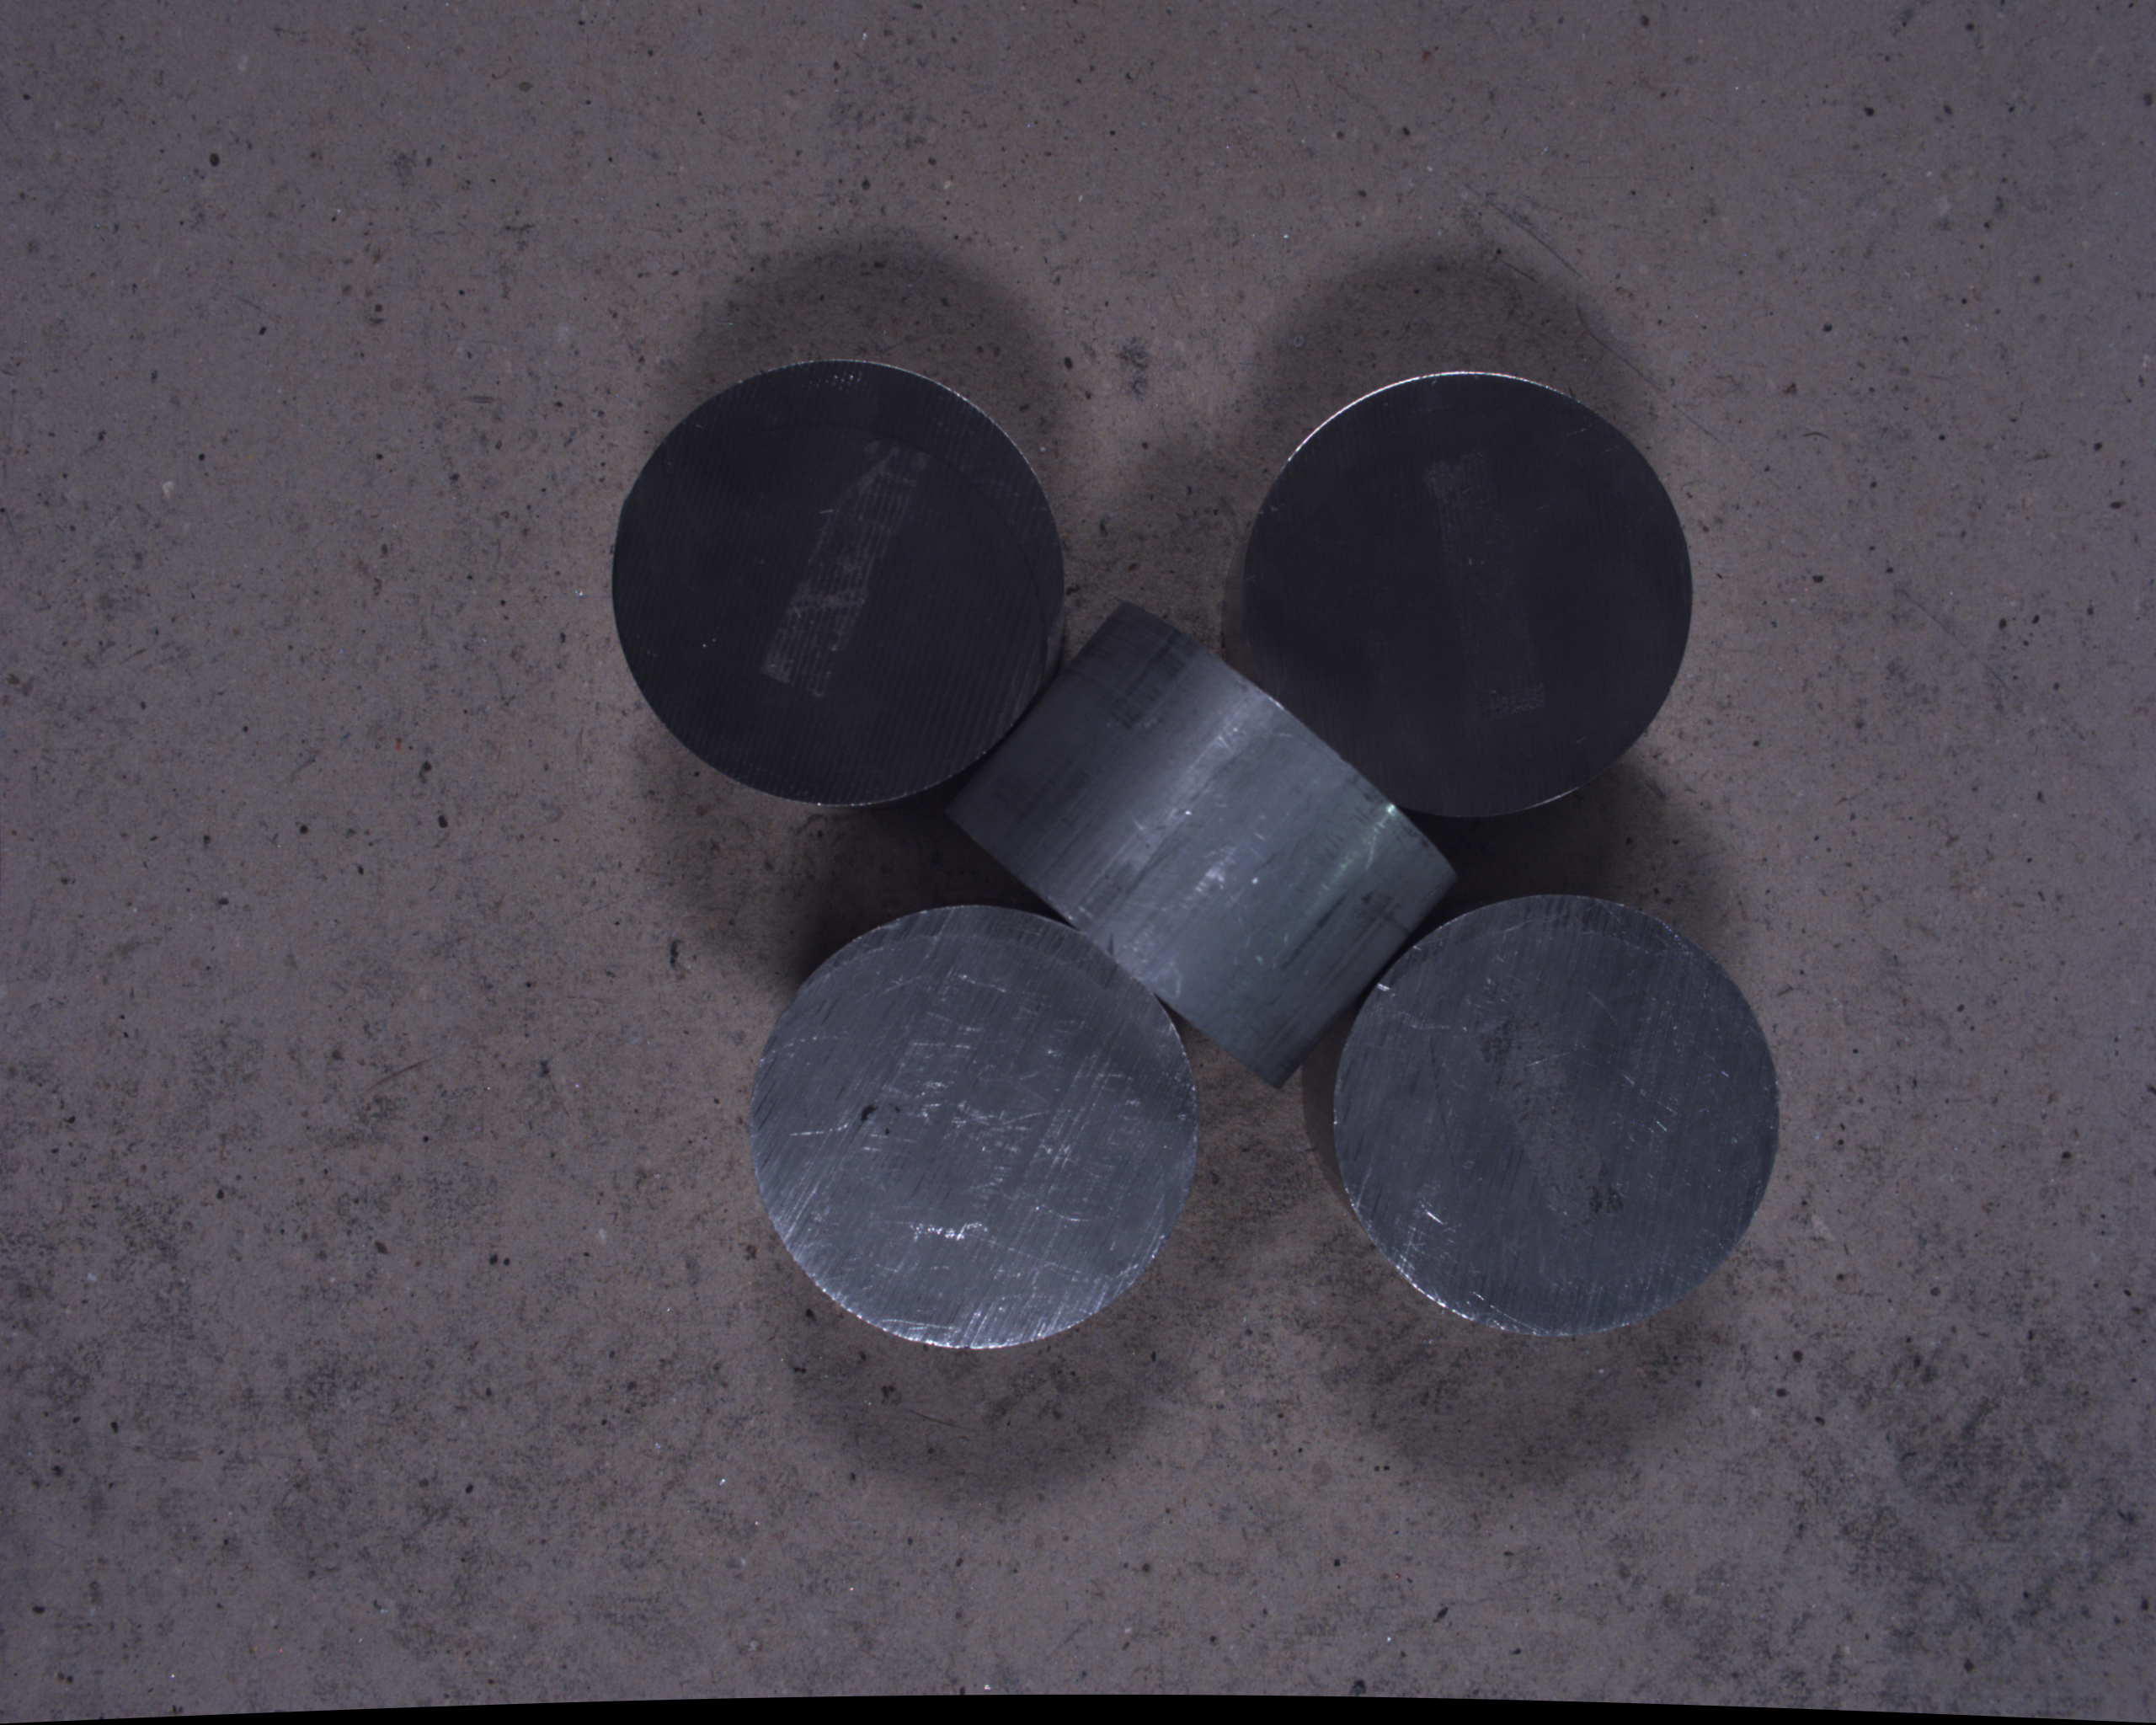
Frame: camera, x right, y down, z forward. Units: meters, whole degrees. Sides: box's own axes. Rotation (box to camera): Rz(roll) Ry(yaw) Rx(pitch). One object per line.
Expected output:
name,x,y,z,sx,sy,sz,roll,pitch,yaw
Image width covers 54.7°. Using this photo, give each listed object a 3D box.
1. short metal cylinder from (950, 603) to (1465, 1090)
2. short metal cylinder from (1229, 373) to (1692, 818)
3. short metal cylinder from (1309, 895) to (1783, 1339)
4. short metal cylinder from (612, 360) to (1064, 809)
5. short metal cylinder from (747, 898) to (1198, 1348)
short metal cylinder,0.023,-0.003,0.384,0.080,0.080,0.050,40,90,-1
short metal cylinder,0.070,-0.048,0.398,0.081,0.050,0.079,0,90,-1
short metal cylinder,0.086,0.045,0.399,0.081,0.050,0.079,0,90,-1
short metal cylinder,-0.043,-0.050,0.397,0.081,0.050,0.079,0,90,-1
short metal cylinder,-0.019,0.047,0.397,0.081,0.050,0.079,0,90,-1
